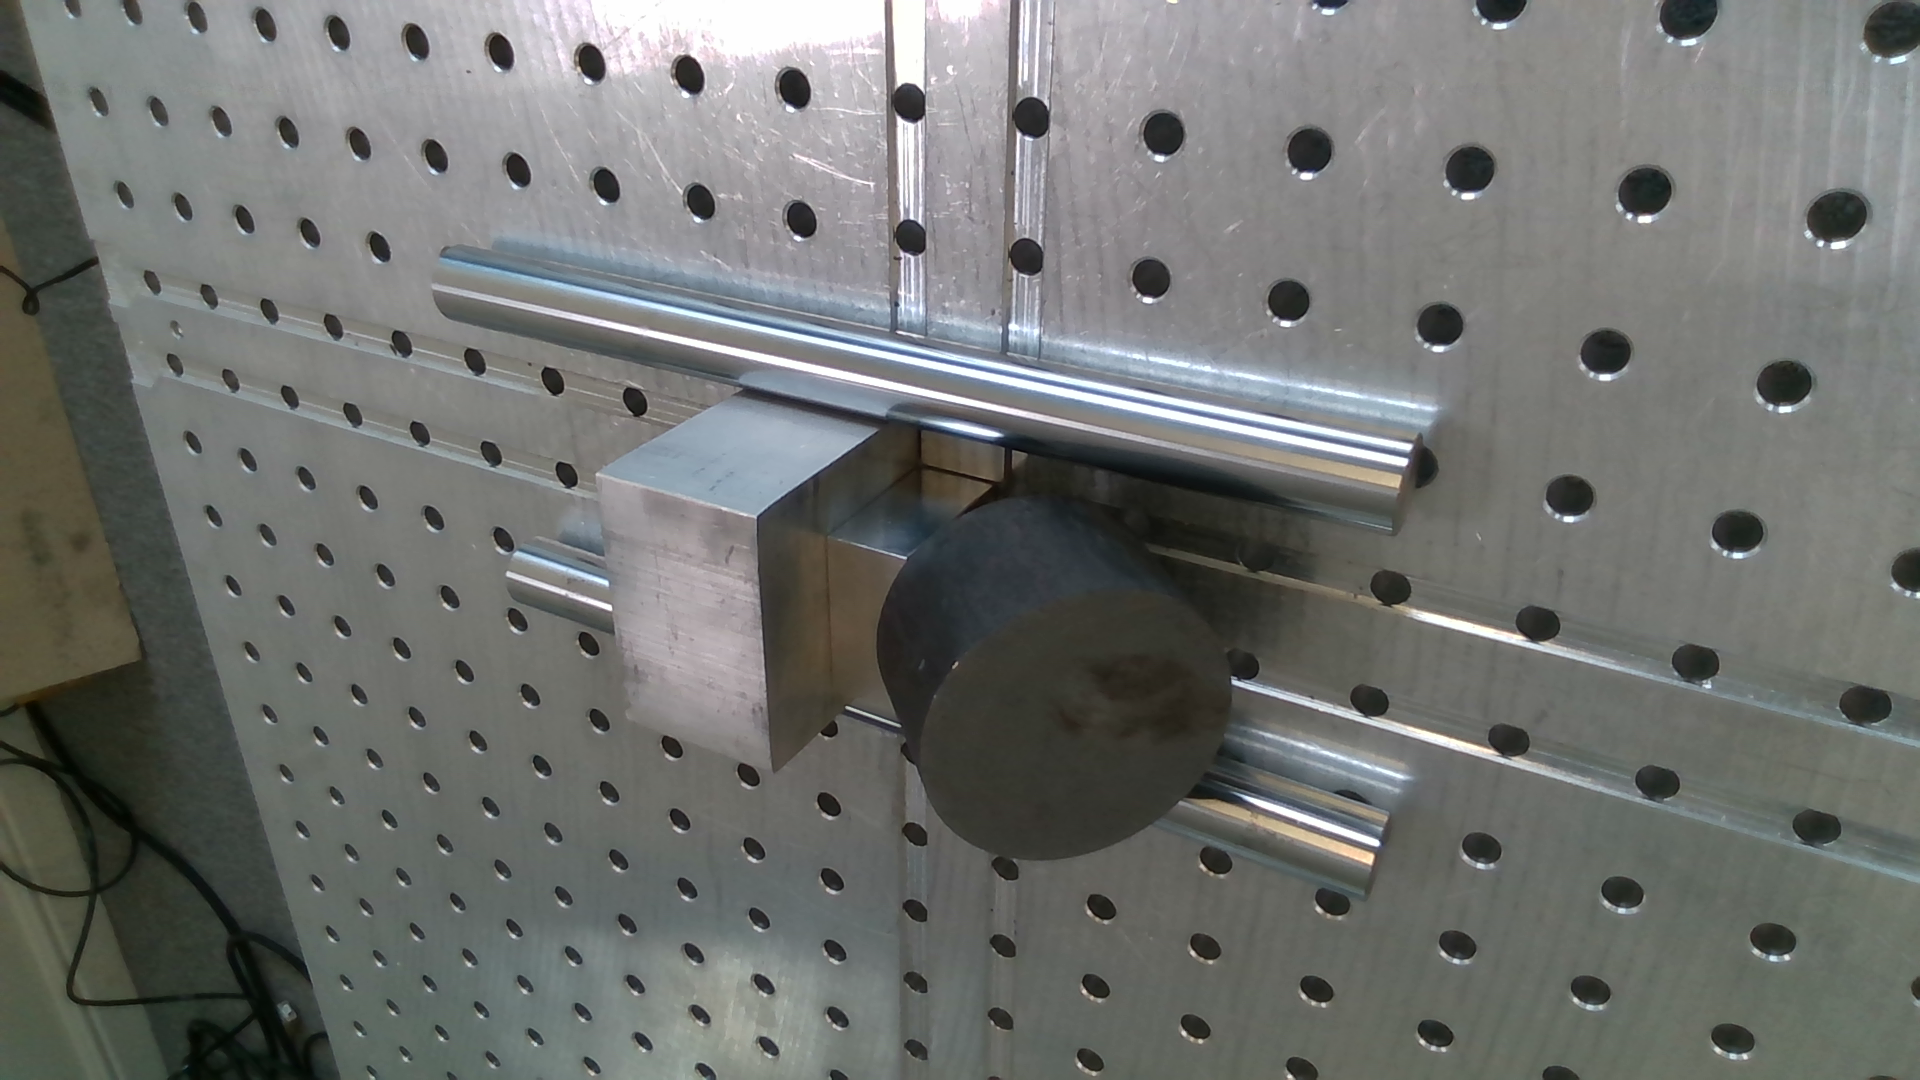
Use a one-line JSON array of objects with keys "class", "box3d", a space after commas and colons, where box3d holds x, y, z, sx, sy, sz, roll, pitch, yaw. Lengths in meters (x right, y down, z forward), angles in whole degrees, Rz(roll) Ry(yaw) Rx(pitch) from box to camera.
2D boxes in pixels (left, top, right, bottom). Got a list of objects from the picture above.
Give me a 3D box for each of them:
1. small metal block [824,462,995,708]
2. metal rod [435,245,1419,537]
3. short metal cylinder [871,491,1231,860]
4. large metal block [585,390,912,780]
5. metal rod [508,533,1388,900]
[{"class": "small metal block", "box3d": [-0.013, 0.013, 0.391, 0.025, 0.050, 0.050, 16, 123, 24]}, {"class": "metal rod", "box3d": [-0.028, -0.048, 0.383, 0.300, 0.025, 0.025, 15, 122, 24]}, {"class": "short metal cylinder", "box3d": [0.022, 0.034, 0.353, 0.080, 0.050, 0.080, -8, 120, -14]}, {"class": "large metal block", "box3d": [-0.055, 0.007, 0.391, 0.050, 0.080, 0.080, 15, 122, 24]}, {"class": "metal rod", "box3d": [-0.020, 0.047, 0.430, 0.300, 0.025, 0.025, 16, 122, 24]}]
